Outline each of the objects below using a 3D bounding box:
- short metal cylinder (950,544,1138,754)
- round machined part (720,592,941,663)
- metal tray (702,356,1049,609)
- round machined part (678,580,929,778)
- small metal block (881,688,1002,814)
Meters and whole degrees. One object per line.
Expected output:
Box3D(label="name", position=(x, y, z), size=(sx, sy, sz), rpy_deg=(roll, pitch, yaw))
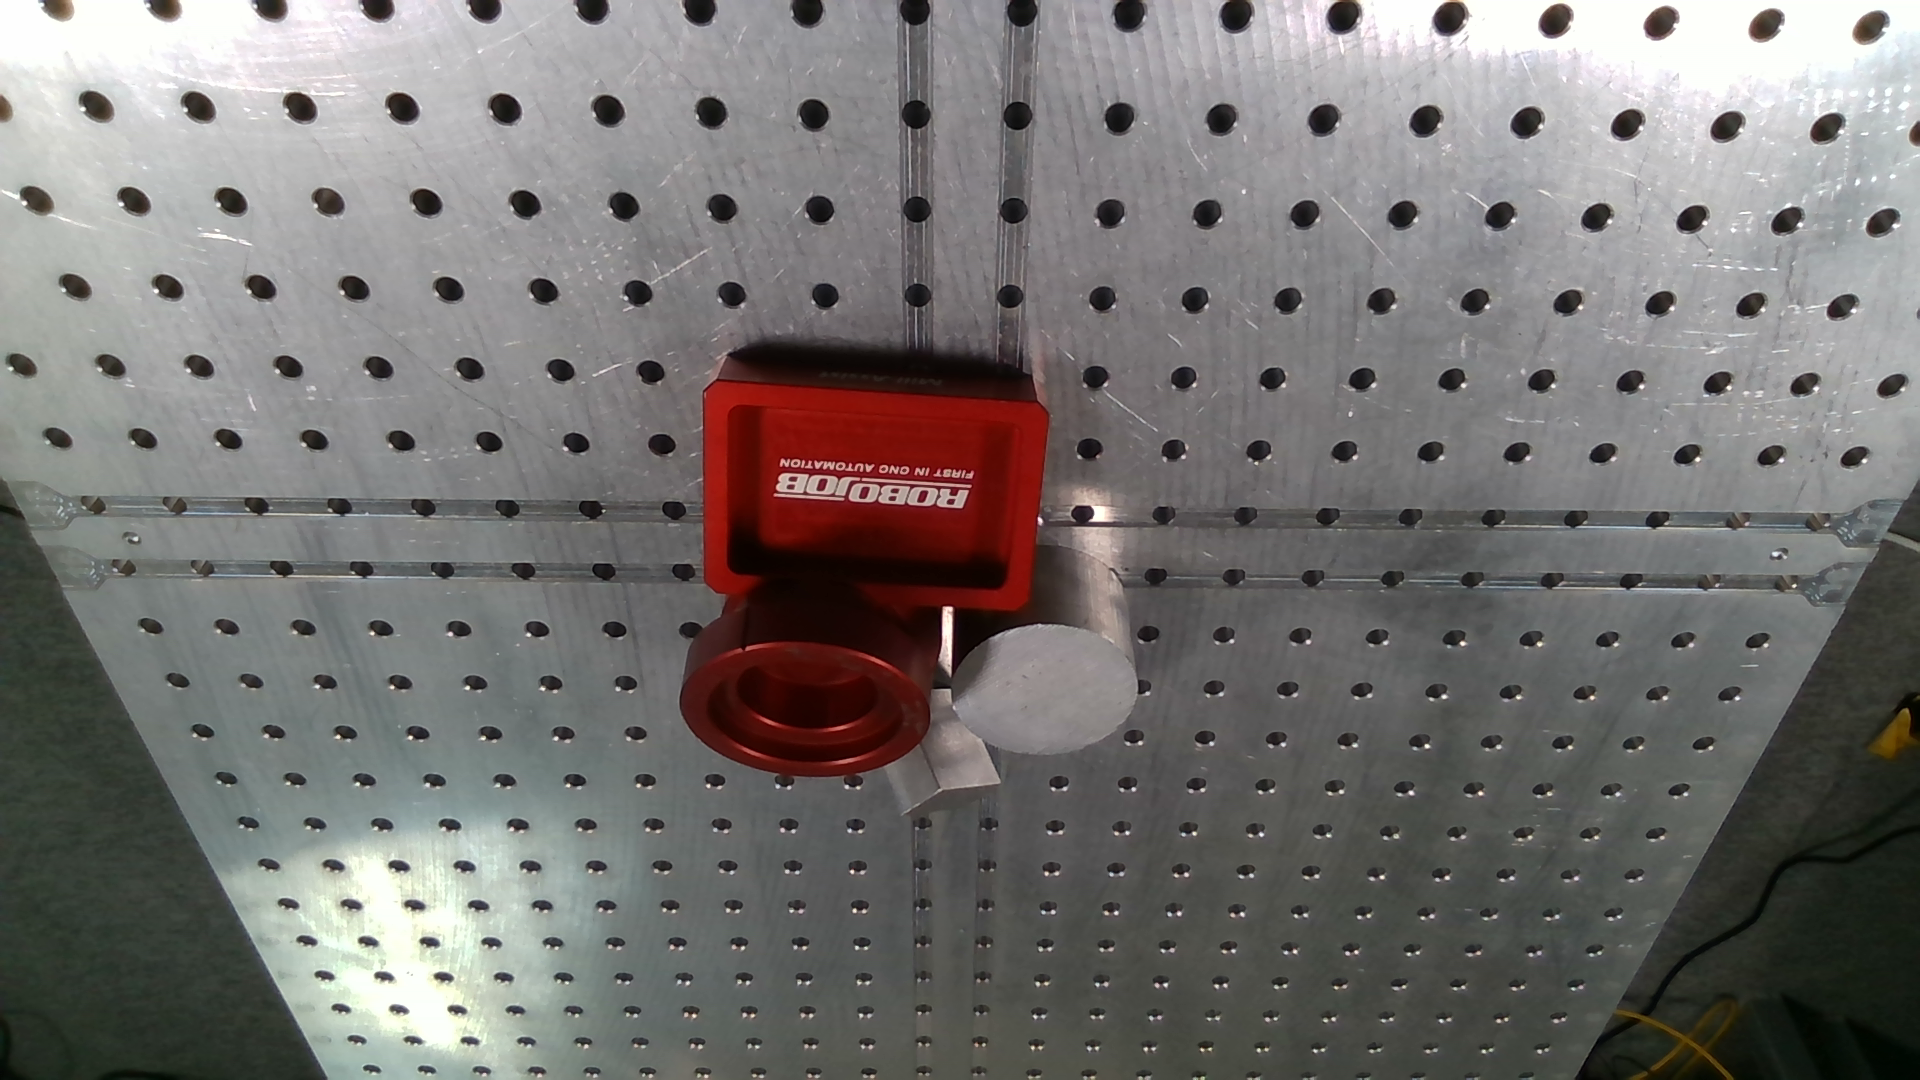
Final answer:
Box3D(label="short metal cylinder", position=(0.036, 0.049, 0.606), size=(0.080, 0.050, 0.080), rpy_deg=(0, 130, 0))
Box3D(label="round machined part", position=(-0.057, 0.044, 0.606), size=(0.098, 0.042, 0.098), rpy_deg=(0, 130, 0))
Box3D(label="metal tray", position=(-0.034, -0.022, 0.546), size=(0.130, 0.030, 0.090), rpy_deg=(3, 115, -3))
Box3D(label="round machined part", position=(-0.061, 0.053, 0.553), size=(0.098, 0.042, 0.098), rpy_deg=(1, 140, 1))
Box3D(label="small metal block", position=(-0.014, 0.096, 0.634), size=(0.025, 0.050, 0.050), rpy_deg=(-36, 156, 26))
